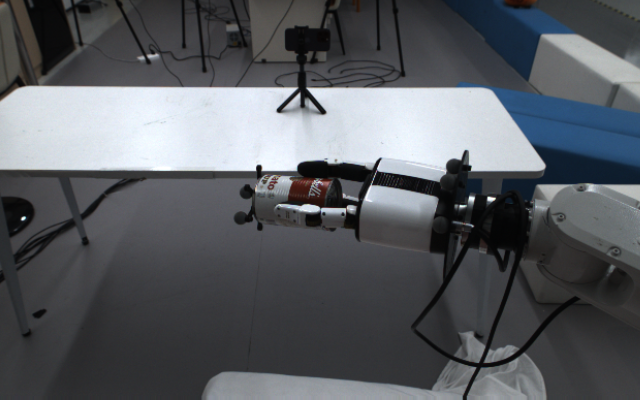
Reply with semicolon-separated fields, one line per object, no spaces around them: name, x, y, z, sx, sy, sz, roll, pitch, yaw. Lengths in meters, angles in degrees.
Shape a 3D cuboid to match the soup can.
soup can;-0.026;0.003;0.630;0.101;0.067;0.067;5;34;18
